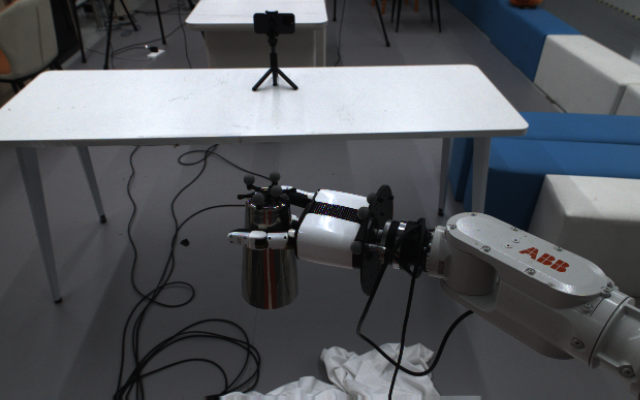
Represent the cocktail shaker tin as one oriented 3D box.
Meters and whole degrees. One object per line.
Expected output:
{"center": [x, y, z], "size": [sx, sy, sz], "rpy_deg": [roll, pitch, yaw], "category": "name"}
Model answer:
{"center": [-0.080, 0.071, 0.755], "size": [0.093, 0.170, 0.093], "rpy_deg": [1, 27, 0], "category": "cocktail shaker tin"}
